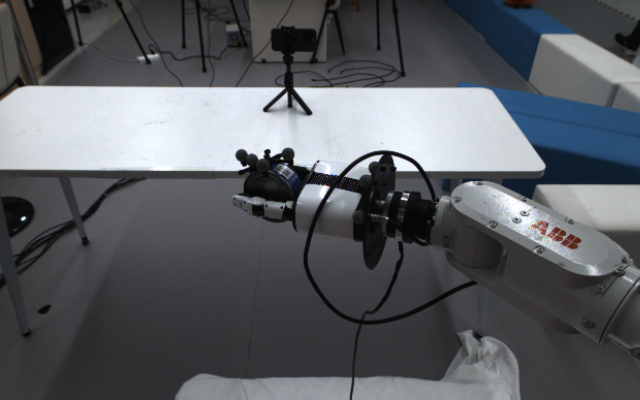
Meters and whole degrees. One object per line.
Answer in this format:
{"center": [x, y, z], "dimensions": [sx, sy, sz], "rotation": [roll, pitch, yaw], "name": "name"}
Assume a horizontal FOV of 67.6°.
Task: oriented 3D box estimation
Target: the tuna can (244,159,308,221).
{"center": [-0.064, -0.012, 0.700], "dimensions": [0.085, 0.085, 0.034], "rotation": [17, 36, 20], "name": "tuna can"}
